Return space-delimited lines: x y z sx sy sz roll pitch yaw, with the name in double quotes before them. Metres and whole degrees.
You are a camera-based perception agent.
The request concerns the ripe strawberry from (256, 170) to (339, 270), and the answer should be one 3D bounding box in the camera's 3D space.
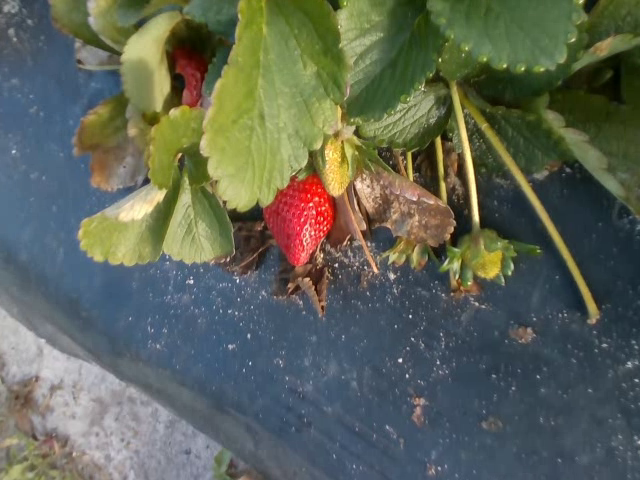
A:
"ripe strawberry" -0.008 -0.005 0.205 0.032 0.030 0.026 -11 -15 29
